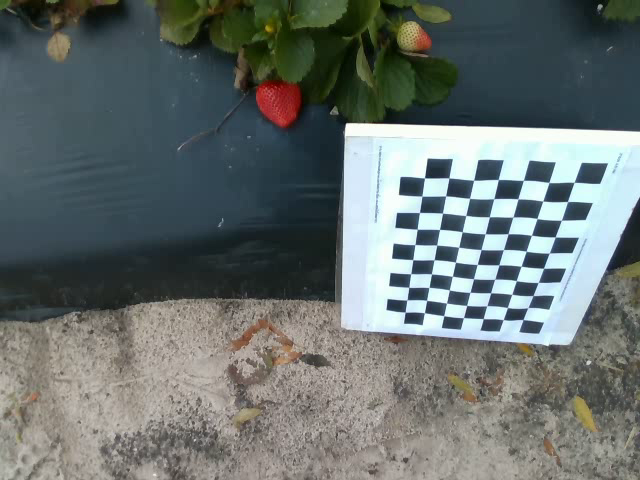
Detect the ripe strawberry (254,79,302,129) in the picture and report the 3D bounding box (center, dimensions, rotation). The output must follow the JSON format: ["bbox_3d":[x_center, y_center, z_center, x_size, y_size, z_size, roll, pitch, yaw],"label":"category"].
[{"bbox_3d":[-0.034,-0.107,0.499,0.037,0.046,0.036,-29,-17,38],"label":"ripe strawberry"}]
